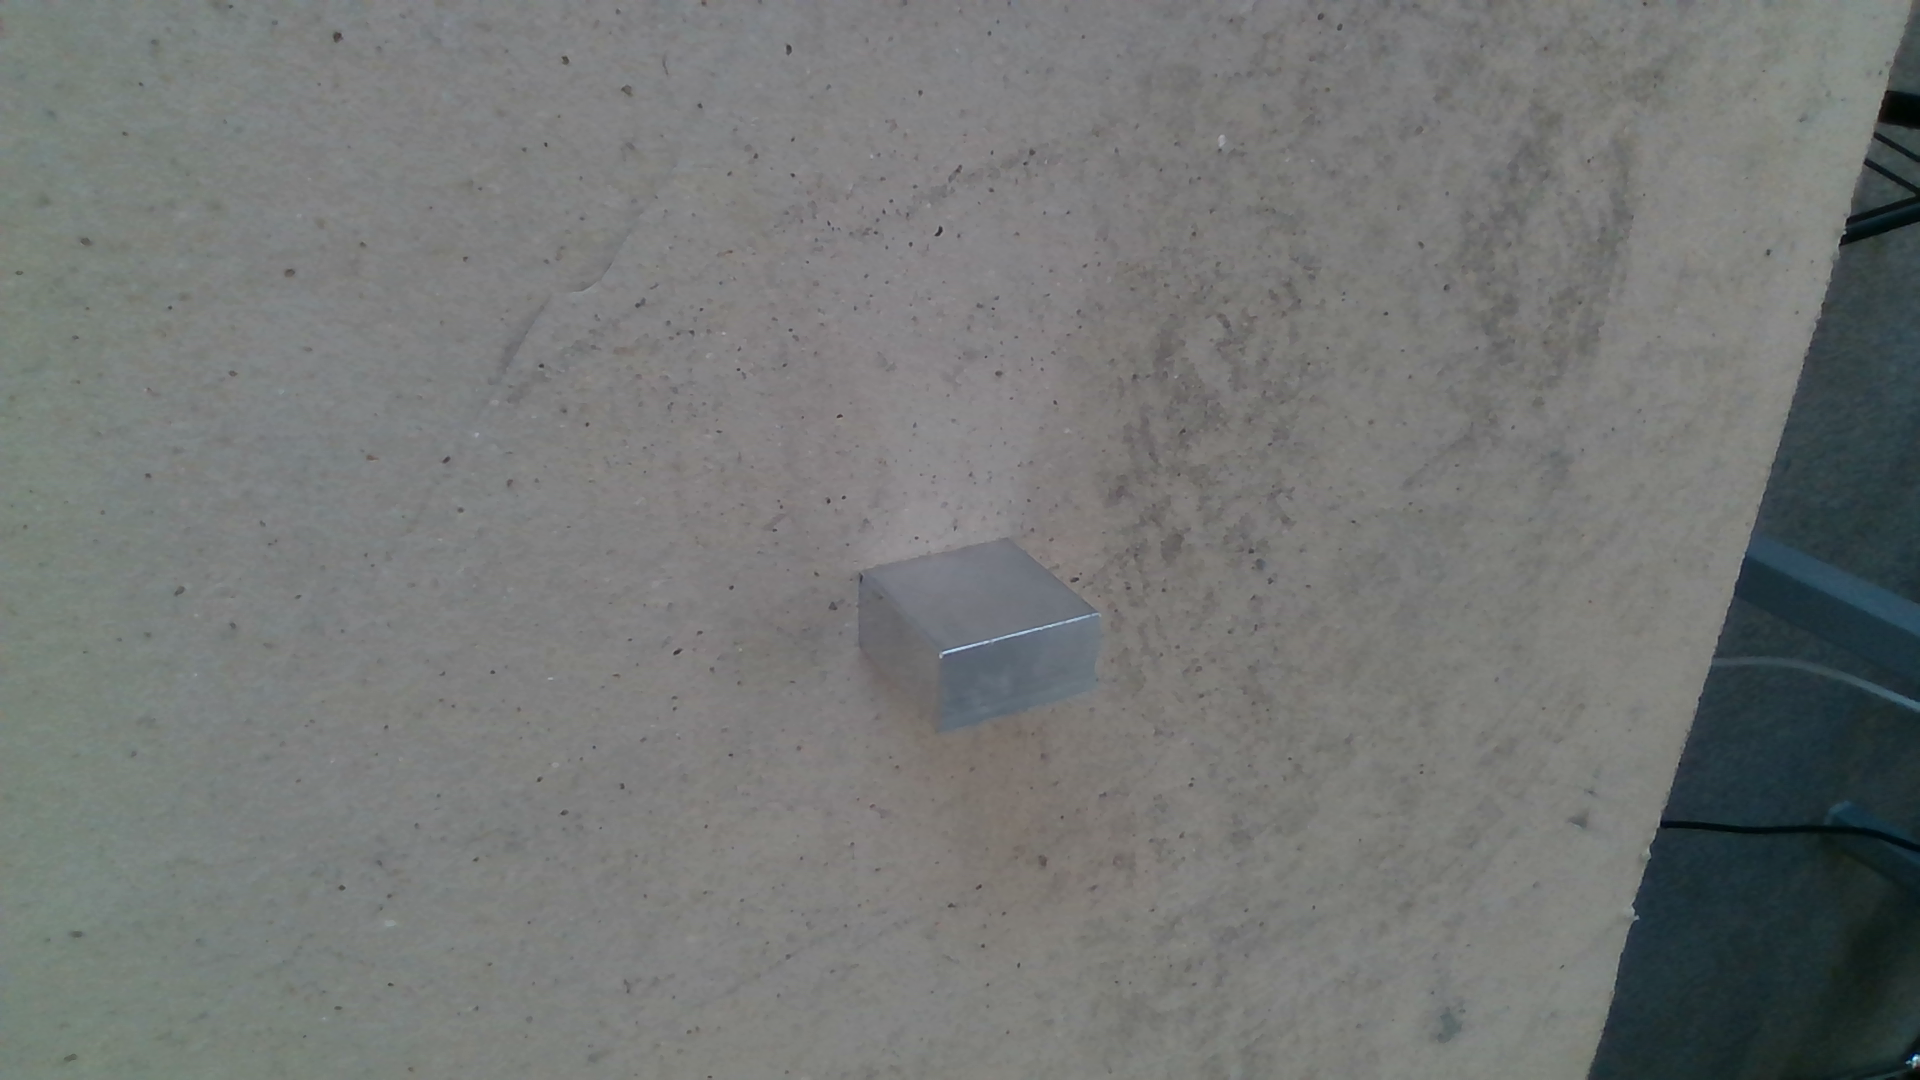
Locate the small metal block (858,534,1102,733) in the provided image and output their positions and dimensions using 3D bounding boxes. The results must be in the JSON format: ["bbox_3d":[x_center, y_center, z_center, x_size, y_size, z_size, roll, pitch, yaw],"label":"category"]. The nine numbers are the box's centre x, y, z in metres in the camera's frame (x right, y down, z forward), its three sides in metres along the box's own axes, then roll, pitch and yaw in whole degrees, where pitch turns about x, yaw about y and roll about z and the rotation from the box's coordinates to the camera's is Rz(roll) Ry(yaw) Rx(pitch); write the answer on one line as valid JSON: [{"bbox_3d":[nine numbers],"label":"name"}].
[{"bbox_3d":[0.004,0.025,0.389,0.050,0.050,0.025,-12,121,-26],"label":"small metal block"}]
